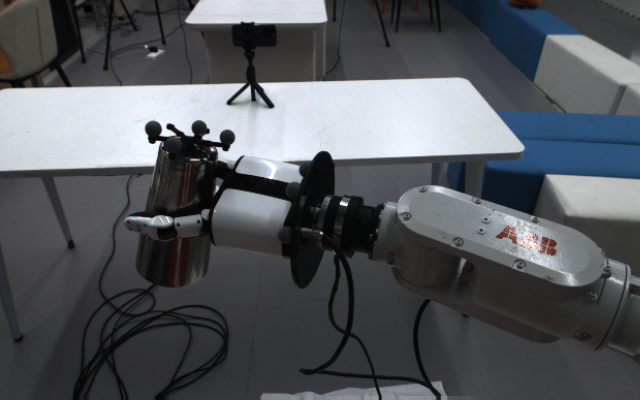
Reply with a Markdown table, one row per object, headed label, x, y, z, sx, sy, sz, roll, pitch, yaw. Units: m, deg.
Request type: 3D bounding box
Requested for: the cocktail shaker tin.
| label | x | y | z | sx | sy | sz | roll | pitch | yaw |
| --- | --- | --- | --- | --- | --- | --- | --- | --- | --- |
| cocktail shaker tin | -0.168 | 0.011 | 0.590 | 0.093 | 0.170 | 0.093 | 12 | 29 | -7 |
